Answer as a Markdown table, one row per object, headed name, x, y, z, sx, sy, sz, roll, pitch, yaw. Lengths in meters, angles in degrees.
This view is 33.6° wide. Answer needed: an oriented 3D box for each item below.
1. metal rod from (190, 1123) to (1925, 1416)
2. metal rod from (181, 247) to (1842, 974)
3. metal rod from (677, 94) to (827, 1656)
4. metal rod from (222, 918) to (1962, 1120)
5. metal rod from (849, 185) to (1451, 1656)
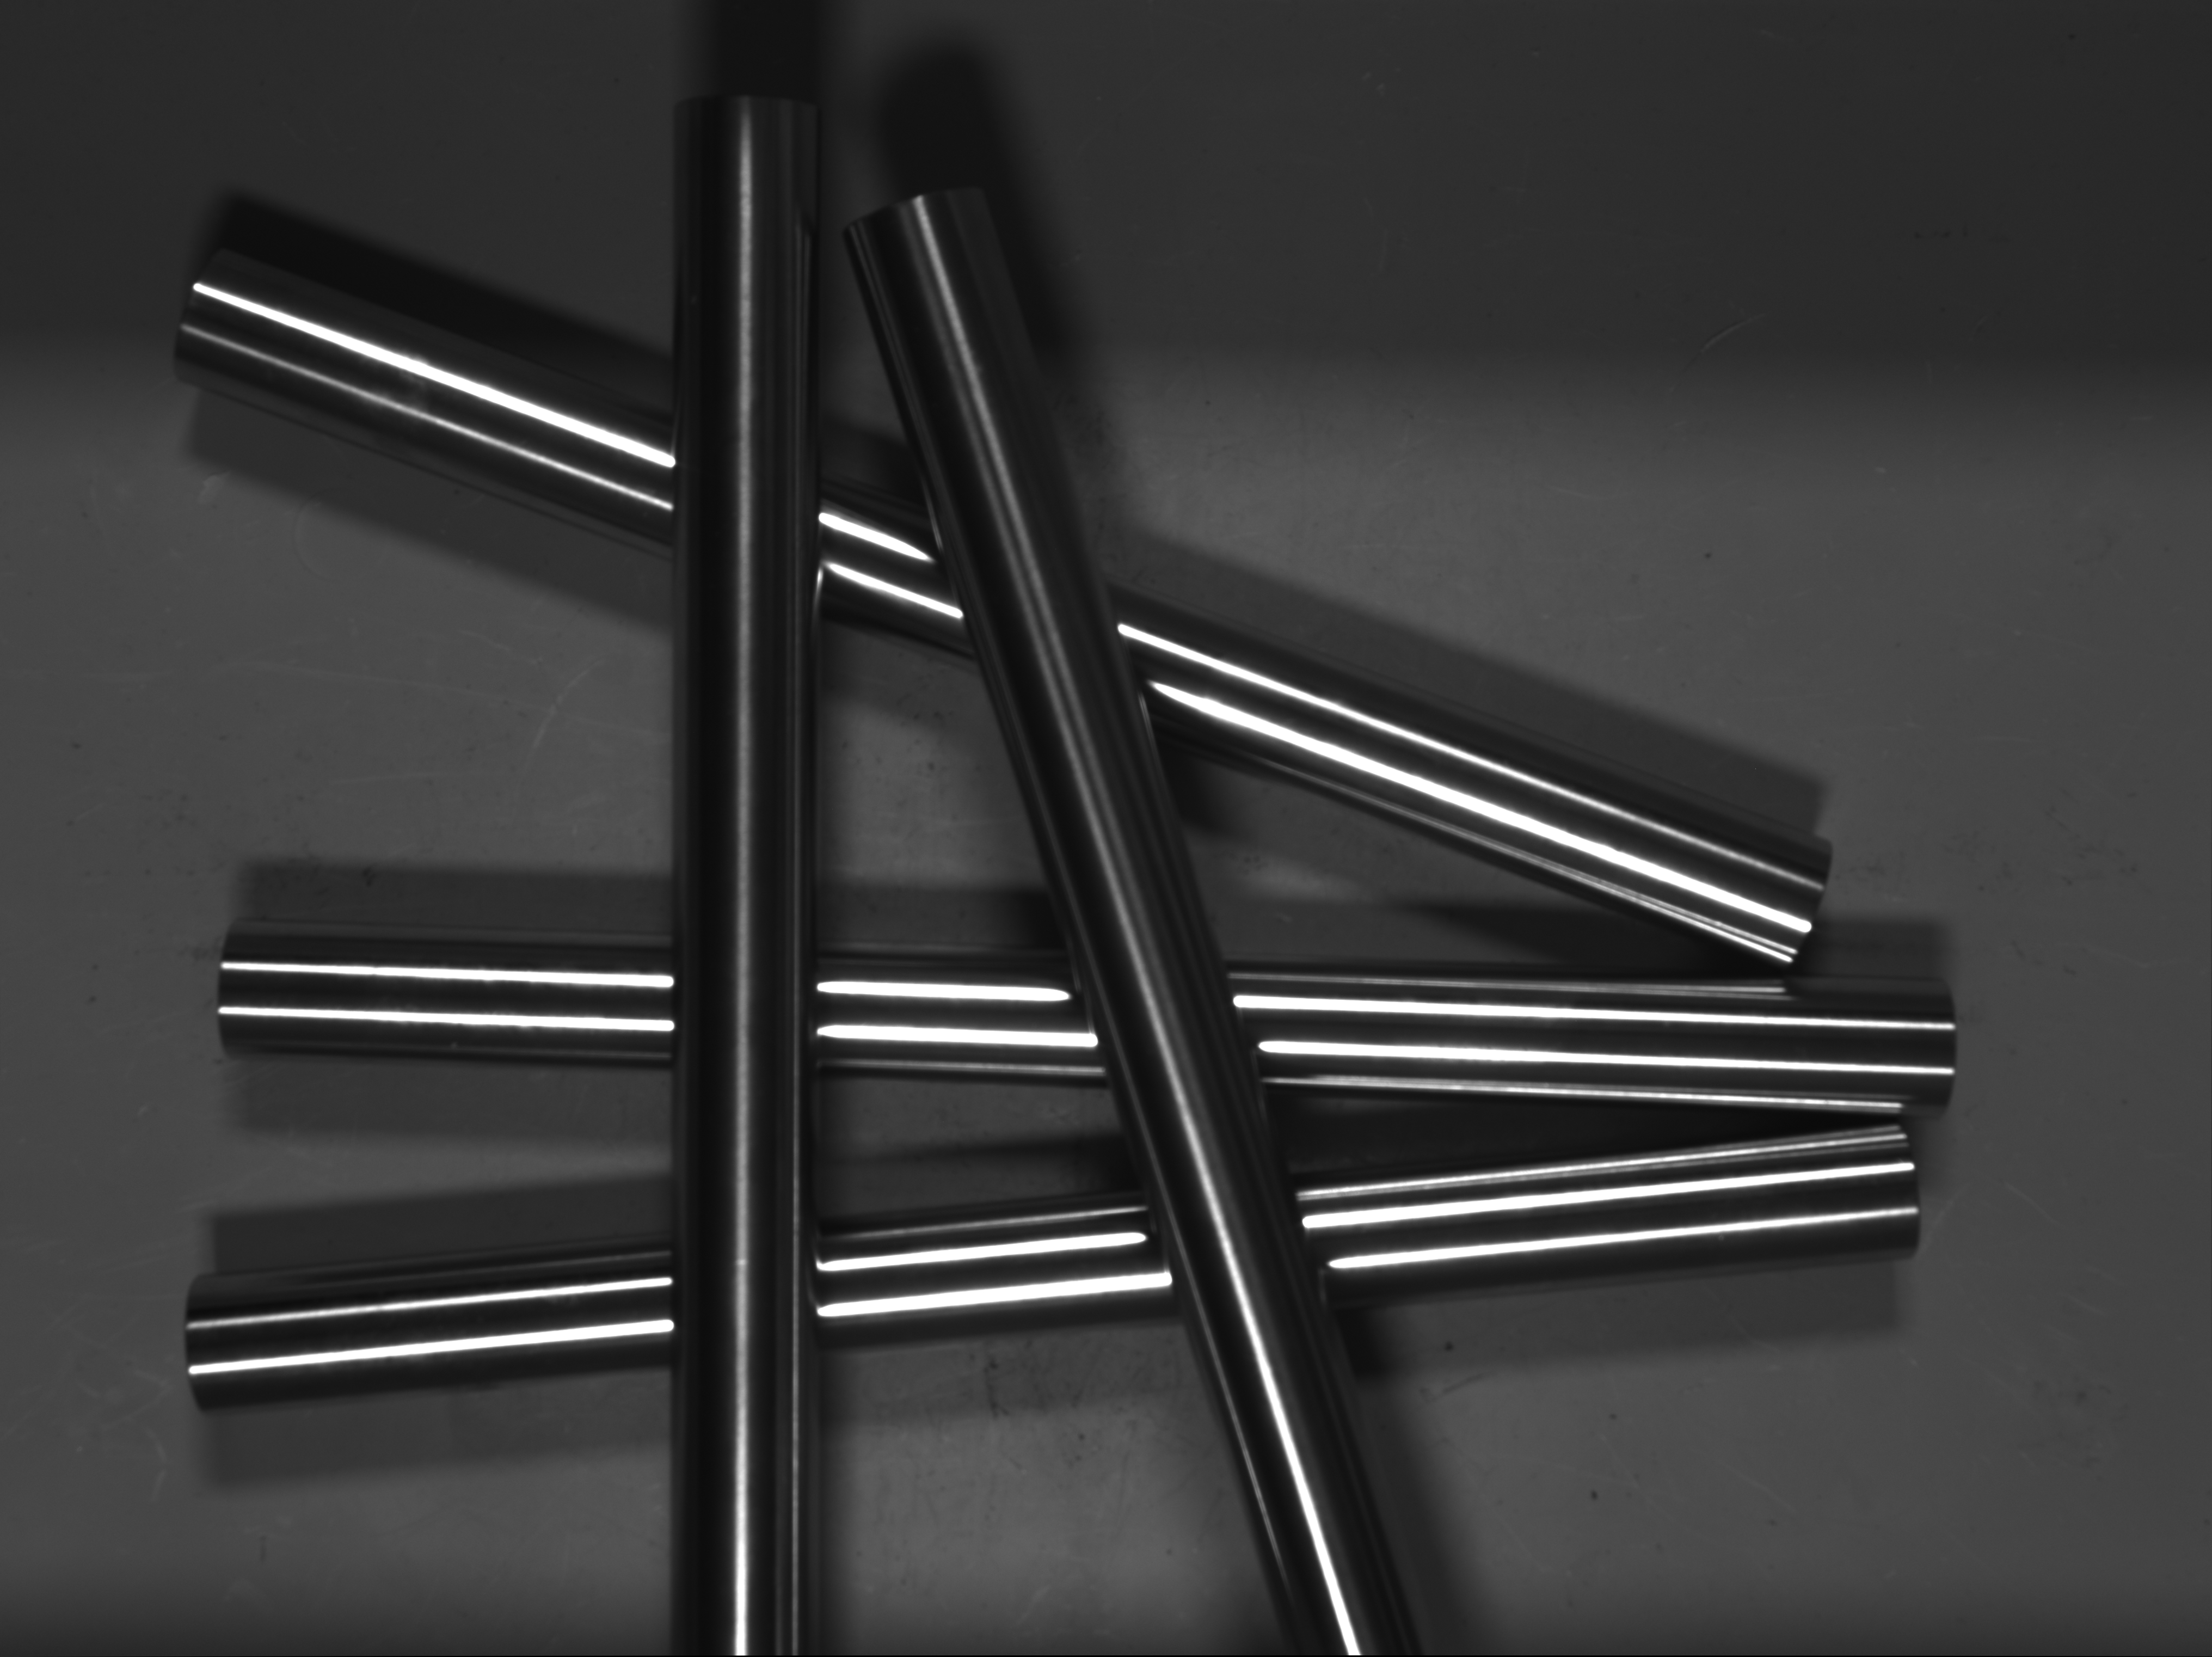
| name | x | y | z | sx | sy | sz | roll | pitch | yaw |
| --- | --- | --- | --- | --- | --- | --- | --- | --- | --- |
| metal rod | -0.008 | 0.077 | 0.644 | 0.300 | 0.025 | 0.025 | -5 | 90 | -1 |
| metal rod | -0.016 | -0.038 | 0.643 | 0.300 | 0.025 | 0.025 | 20 | 90 | 0 |
| metal rod | -0.060 | 0.029 | 0.618 | 0.025 | 0.025 | 0.300 | 0 | 90 | 0 |
| metal rod | -0.002 | 0.034 | 0.643 | 0.300 | 0.025 | 0.025 | 2 | 90 | -1 |
| metal rod | 0.013 | 0.039 | 0.619 | 0.025 | 0.025 | 0.300 | -17 | 90 | 0 |
